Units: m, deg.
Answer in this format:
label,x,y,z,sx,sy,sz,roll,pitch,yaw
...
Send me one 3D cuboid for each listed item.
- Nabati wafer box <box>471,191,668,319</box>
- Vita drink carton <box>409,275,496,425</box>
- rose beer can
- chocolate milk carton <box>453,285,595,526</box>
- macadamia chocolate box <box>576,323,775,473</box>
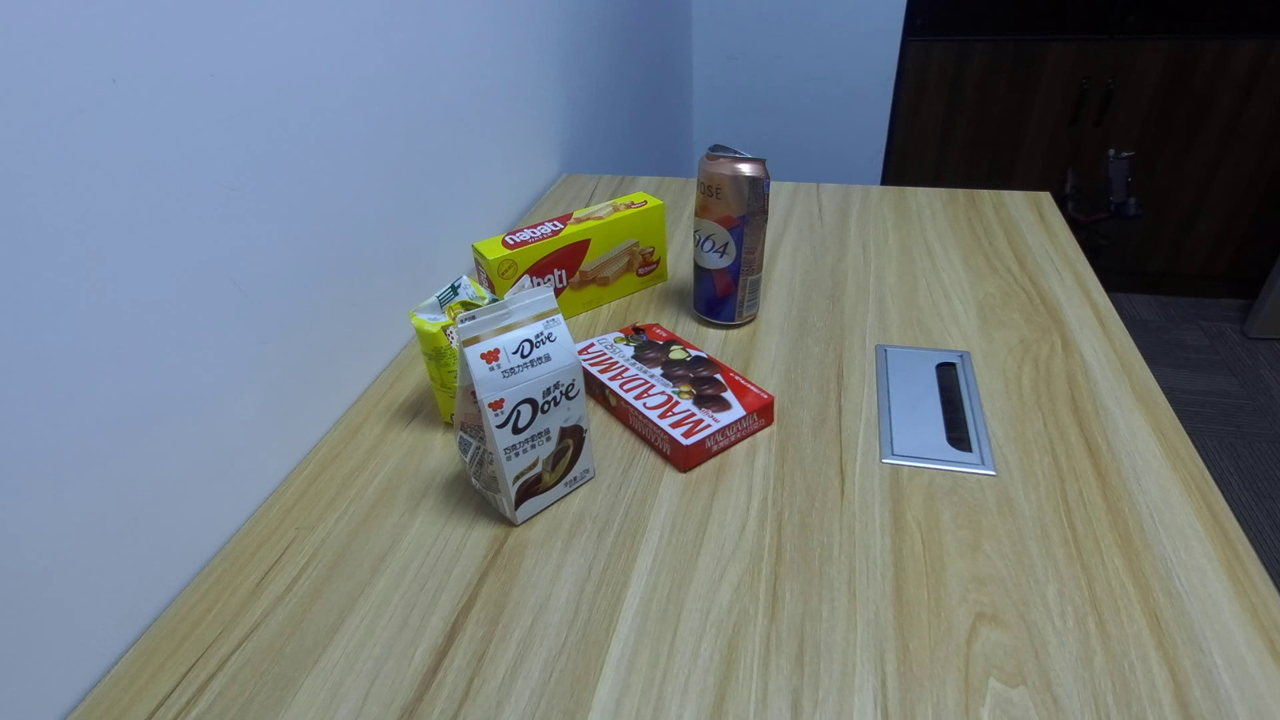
label,x,y,z,sx,sy,sz,roll,pitch,yaw
Nabati wafer box,-0.062,-0.097,0.721,0.203,0.093,0.042,-24,36,-25
Vita drink carton,-0.141,-0.007,0.591,0.046,0.110,0.071,18,44,25
rose beer can,0.084,-0.115,0.668,0.069,0.168,0.070,6,28,9
chocolate milk carton,-0.089,0.026,0.492,0.084,0.155,0.072,-29,41,-31
macadamia chocolate box,0.019,0.018,0.606,0.103,0.027,0.186,-24,39,-28
